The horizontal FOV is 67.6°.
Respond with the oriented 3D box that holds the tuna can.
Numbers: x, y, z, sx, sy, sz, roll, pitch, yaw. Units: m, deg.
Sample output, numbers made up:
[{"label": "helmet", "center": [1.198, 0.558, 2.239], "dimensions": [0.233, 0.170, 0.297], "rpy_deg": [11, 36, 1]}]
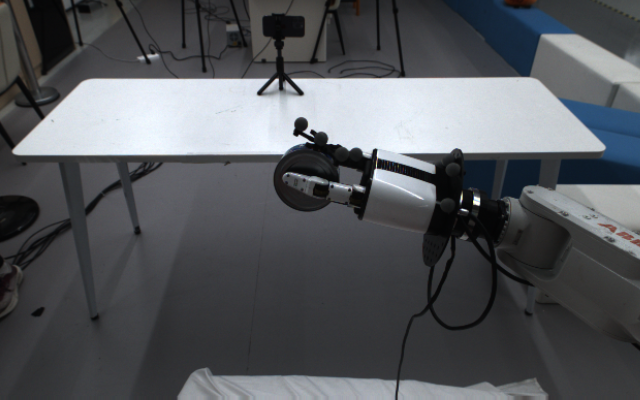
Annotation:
[{"label": "tuna can", "center": [-0.016, -0.030, 0.638], "dimensions": [0.085, 0.085, 0.034], "rpy_deg": [4, 20, 3]}]
